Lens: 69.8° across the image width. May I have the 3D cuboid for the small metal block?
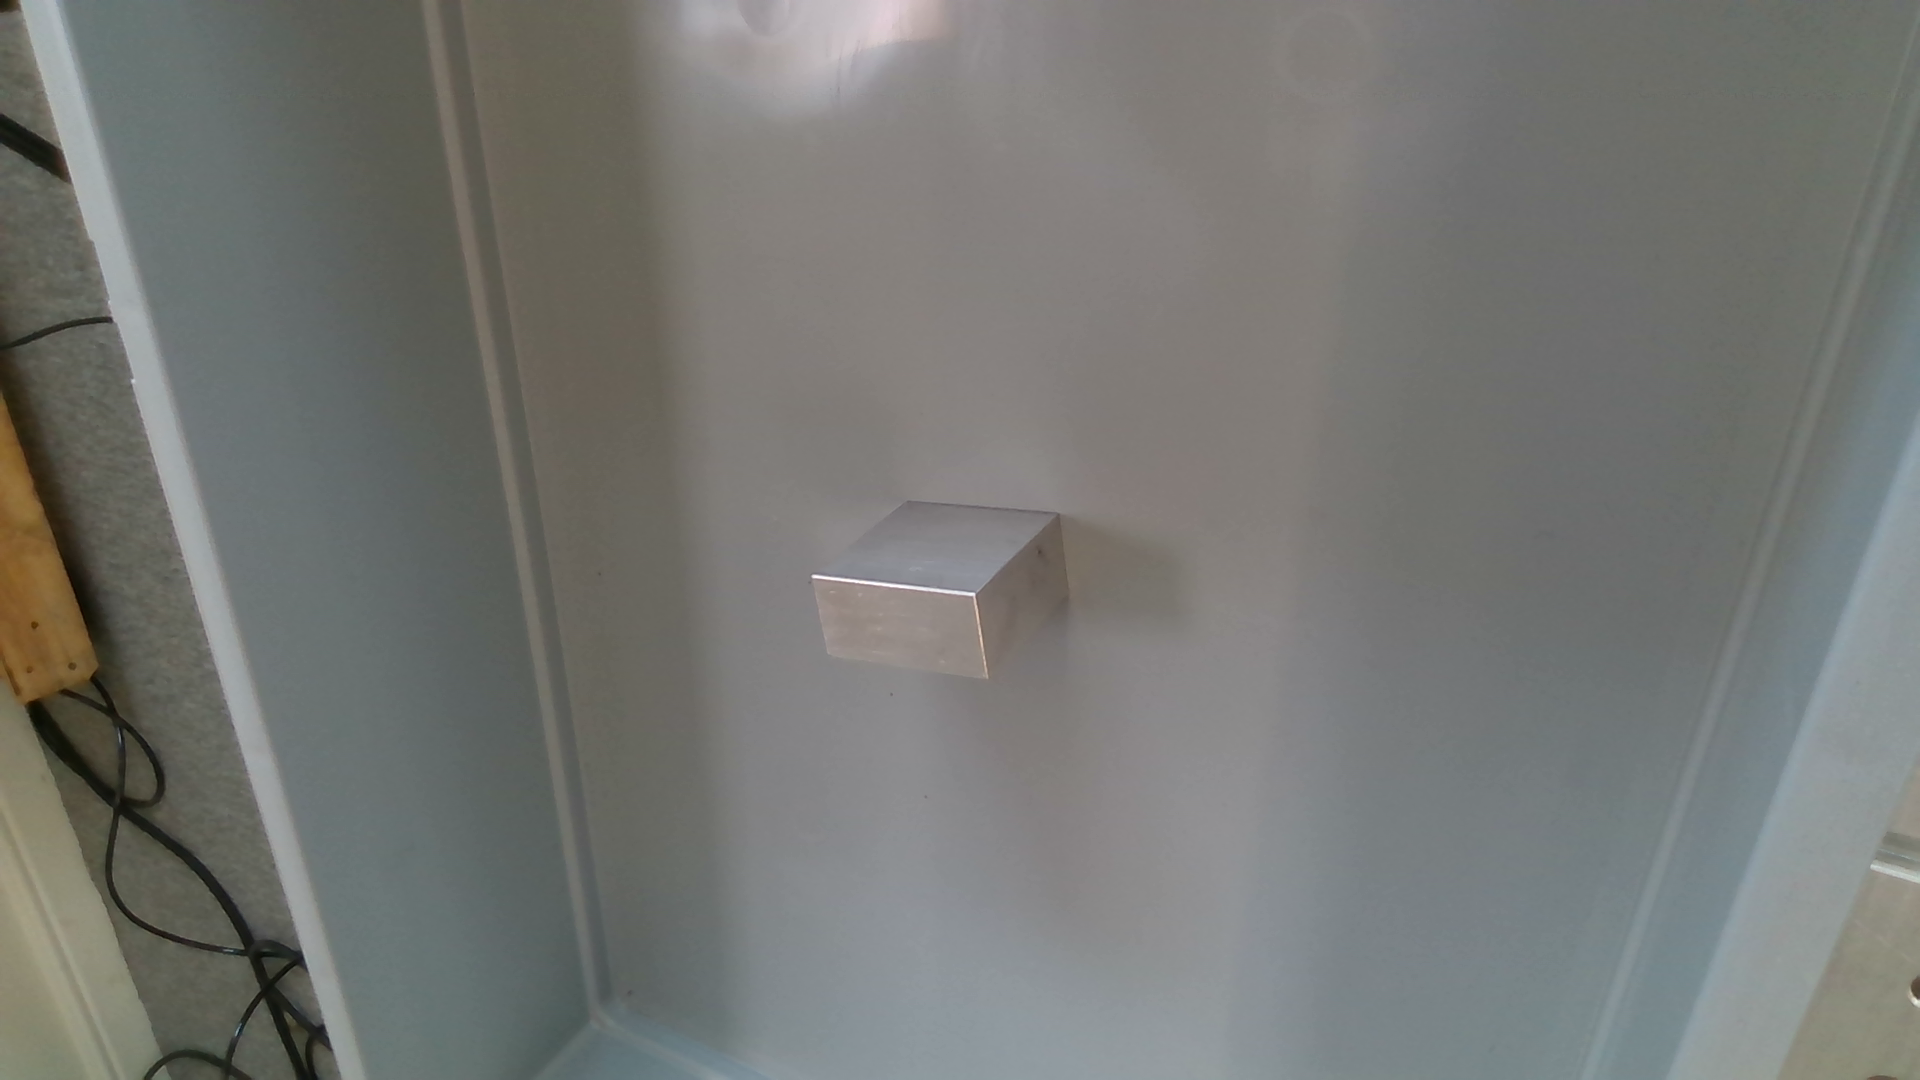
[{"bbox_3d":[-0.005,0.012,0.378,0.050,0.050,0.025,5,117,29],"label":"small metal block"}]
